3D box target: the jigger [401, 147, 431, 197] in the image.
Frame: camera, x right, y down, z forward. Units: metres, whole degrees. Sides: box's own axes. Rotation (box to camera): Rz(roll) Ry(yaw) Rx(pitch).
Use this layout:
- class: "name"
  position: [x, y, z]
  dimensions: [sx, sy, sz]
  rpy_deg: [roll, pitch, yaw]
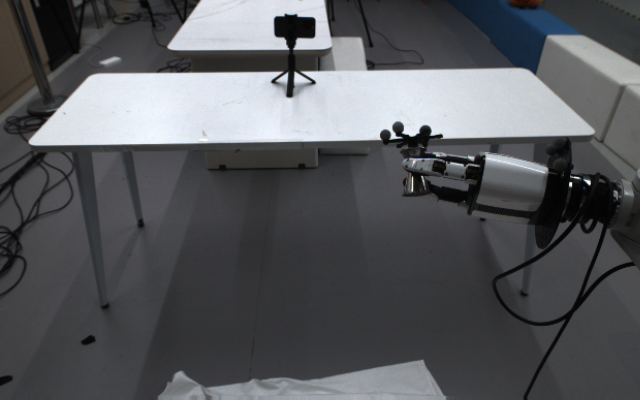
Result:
- class: "jigger"
  position: [0.141, -0.043, 0.720]
  dimensions: [0.043, 0.071, 0.043]
  rpy_deg: [-3, -7, 0]
